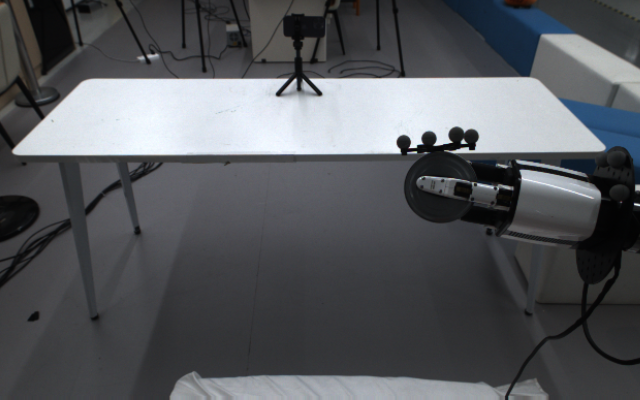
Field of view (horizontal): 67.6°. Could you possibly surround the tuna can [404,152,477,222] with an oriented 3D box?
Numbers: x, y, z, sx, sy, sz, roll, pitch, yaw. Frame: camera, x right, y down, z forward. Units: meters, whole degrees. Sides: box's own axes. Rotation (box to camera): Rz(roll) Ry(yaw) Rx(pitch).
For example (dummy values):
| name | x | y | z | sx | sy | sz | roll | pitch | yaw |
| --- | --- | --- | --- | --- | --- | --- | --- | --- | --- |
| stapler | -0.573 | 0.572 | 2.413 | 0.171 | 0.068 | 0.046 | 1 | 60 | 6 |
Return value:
| name | x | y | z | sx | sy | sz | roll | pitch | yaw |
| --- | --- | --- | --- | --- | --- | --- | --- | --- | --- |
| tuna can | 0.147 | -0.017 | 0.591 | 0.085 | 0.085 | 0.034 | 10 | 3 | 11 |
